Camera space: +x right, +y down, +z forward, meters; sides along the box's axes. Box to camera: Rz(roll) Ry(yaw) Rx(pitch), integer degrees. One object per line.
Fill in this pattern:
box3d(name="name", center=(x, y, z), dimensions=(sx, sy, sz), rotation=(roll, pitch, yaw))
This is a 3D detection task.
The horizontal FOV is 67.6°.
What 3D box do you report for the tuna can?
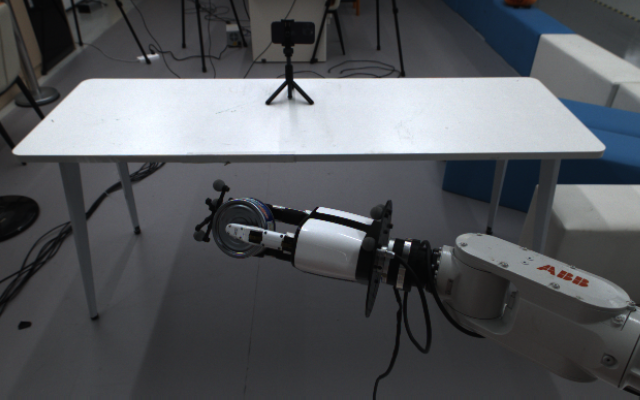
box3d(name="tuna can", center=(-0.107, 0.038, 0.686), dimensions=(0.085, 0.085, 0.034), rotation=(12, 5, 14))
